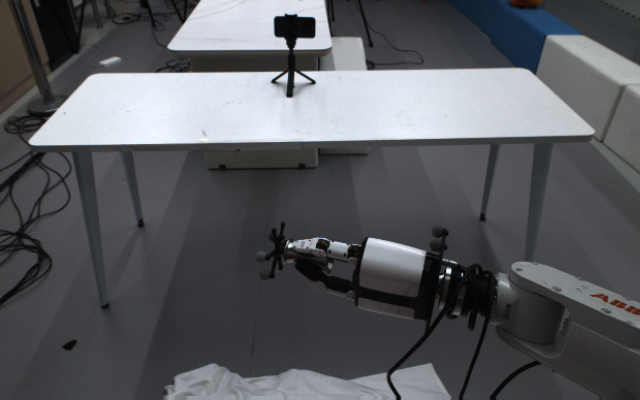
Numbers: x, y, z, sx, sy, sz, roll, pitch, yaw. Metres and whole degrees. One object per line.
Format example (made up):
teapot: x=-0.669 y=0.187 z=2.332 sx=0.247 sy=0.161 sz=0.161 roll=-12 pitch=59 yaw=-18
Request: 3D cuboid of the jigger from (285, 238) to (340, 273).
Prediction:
jigger: x=-0.009 y=0.077 z=0.718 sx=0.071 sy=0.043 sz=0.043 roll=8 pitch=35 yaw=14
